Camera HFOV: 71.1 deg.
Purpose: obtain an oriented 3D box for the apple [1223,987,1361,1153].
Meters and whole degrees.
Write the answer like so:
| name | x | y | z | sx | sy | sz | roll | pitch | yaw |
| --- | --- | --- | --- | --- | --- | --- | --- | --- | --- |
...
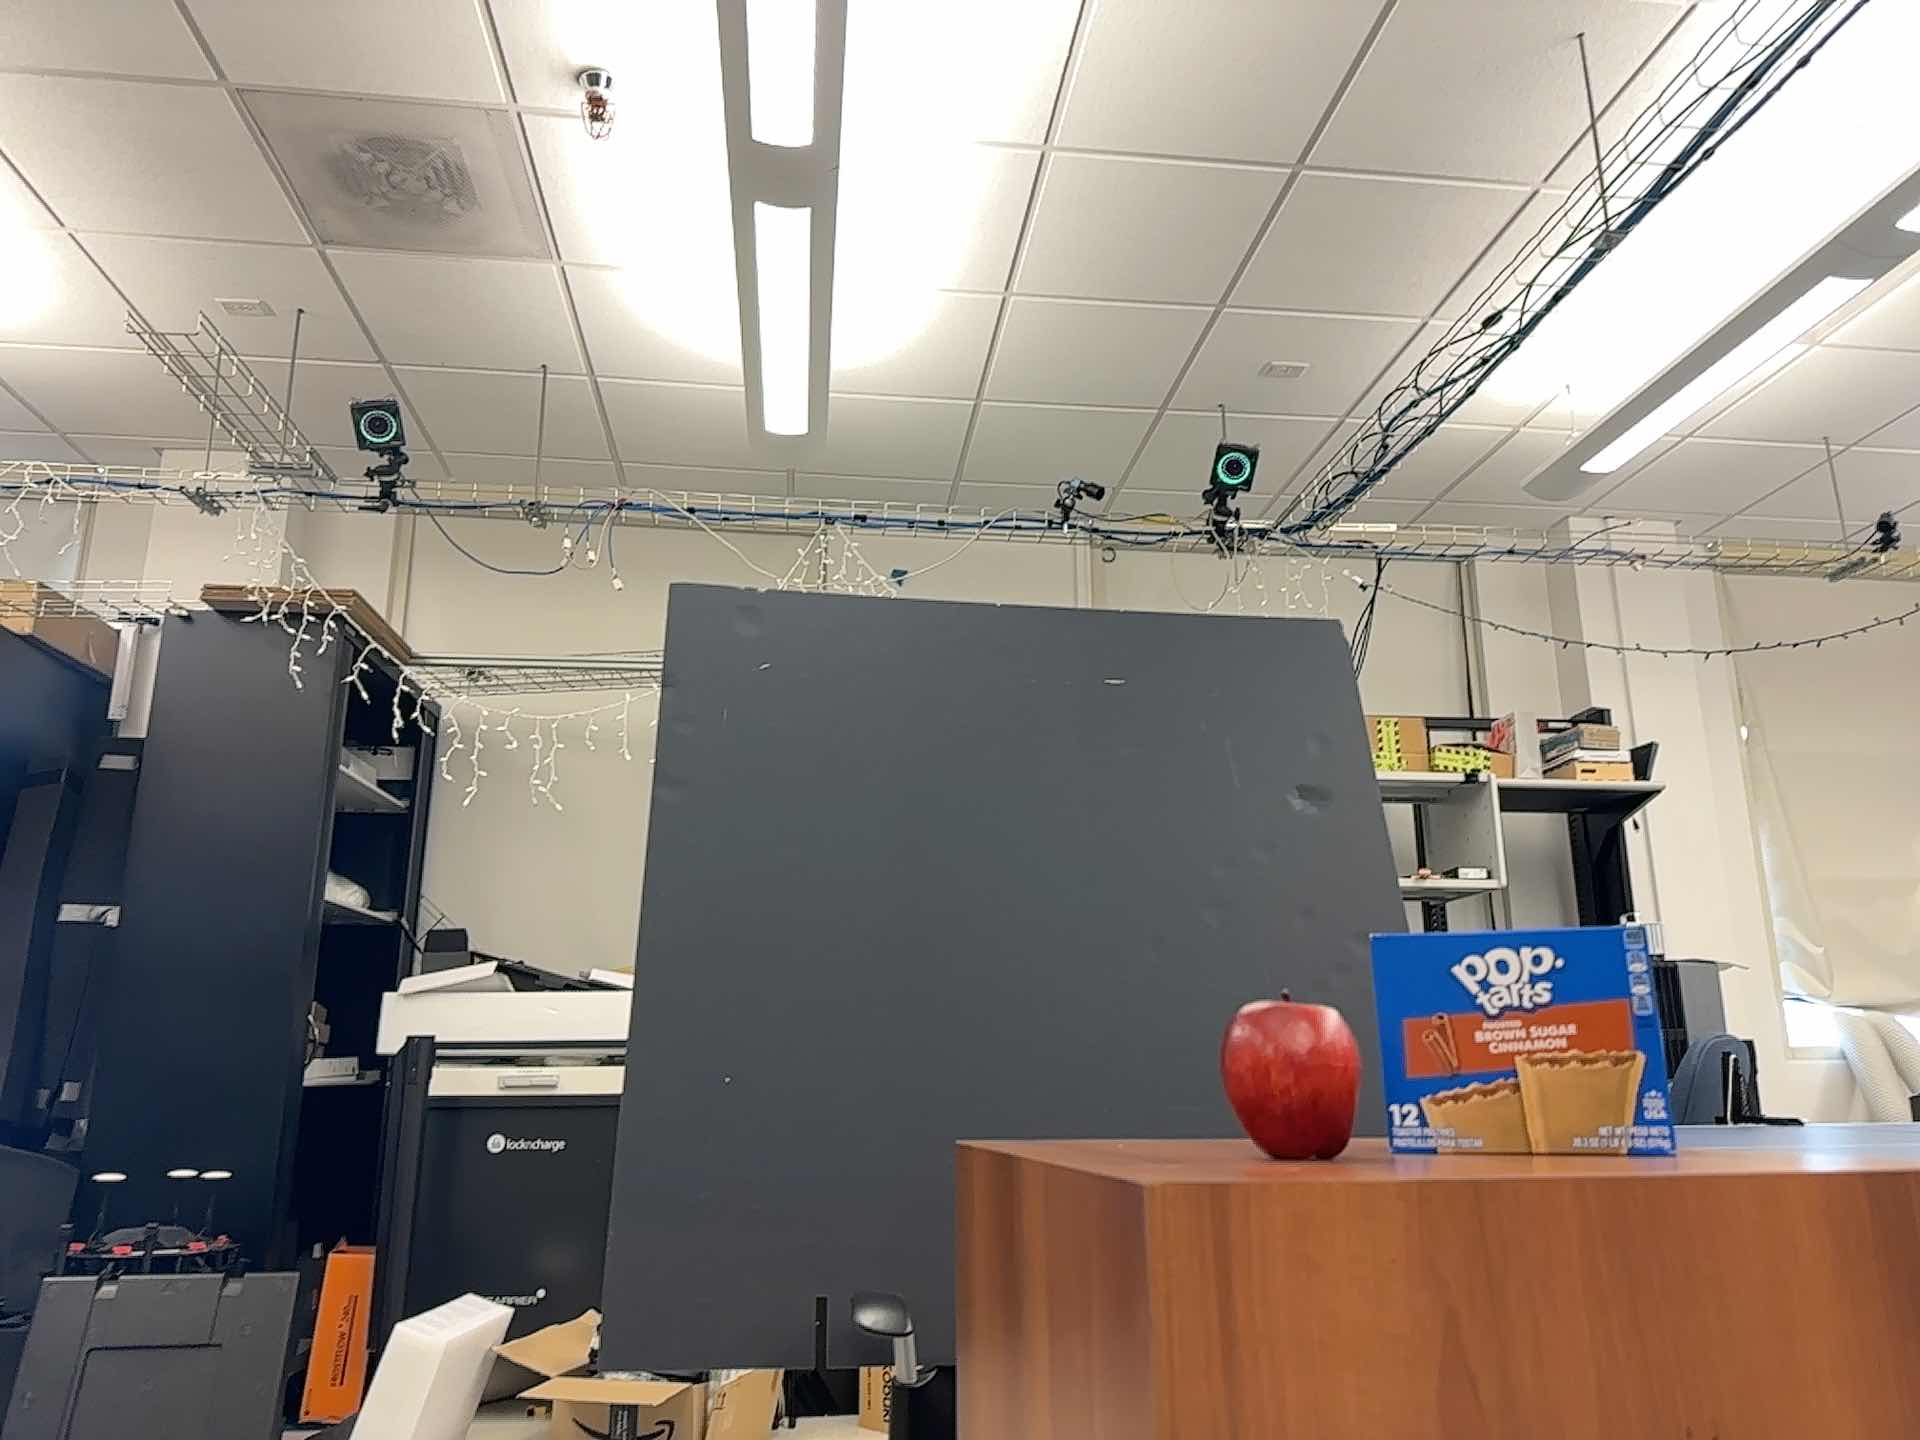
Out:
| name | x | y | z | sx | sy | sz | roll | pitch | yaw |
| --- | --- | --- | --- | --- | --- | --- | --- | --- | --- |
| apple | 0.195 | 0.205 | 0.791 | 0.079 | 0.093 | 0.079 | 1 | -14 | 0 |

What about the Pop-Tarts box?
| name | x | y | z | sx | sy | sz | roll | pitch | yaw |
| --- | --- | --- | --- | --- | --- | --- | --- | --- | --- |
| Pop-Tarts box | 0.362 | 0.207 | 0.877 | 0.161 | 0.135 | 0.075 | -6 | -16 | 21 |
